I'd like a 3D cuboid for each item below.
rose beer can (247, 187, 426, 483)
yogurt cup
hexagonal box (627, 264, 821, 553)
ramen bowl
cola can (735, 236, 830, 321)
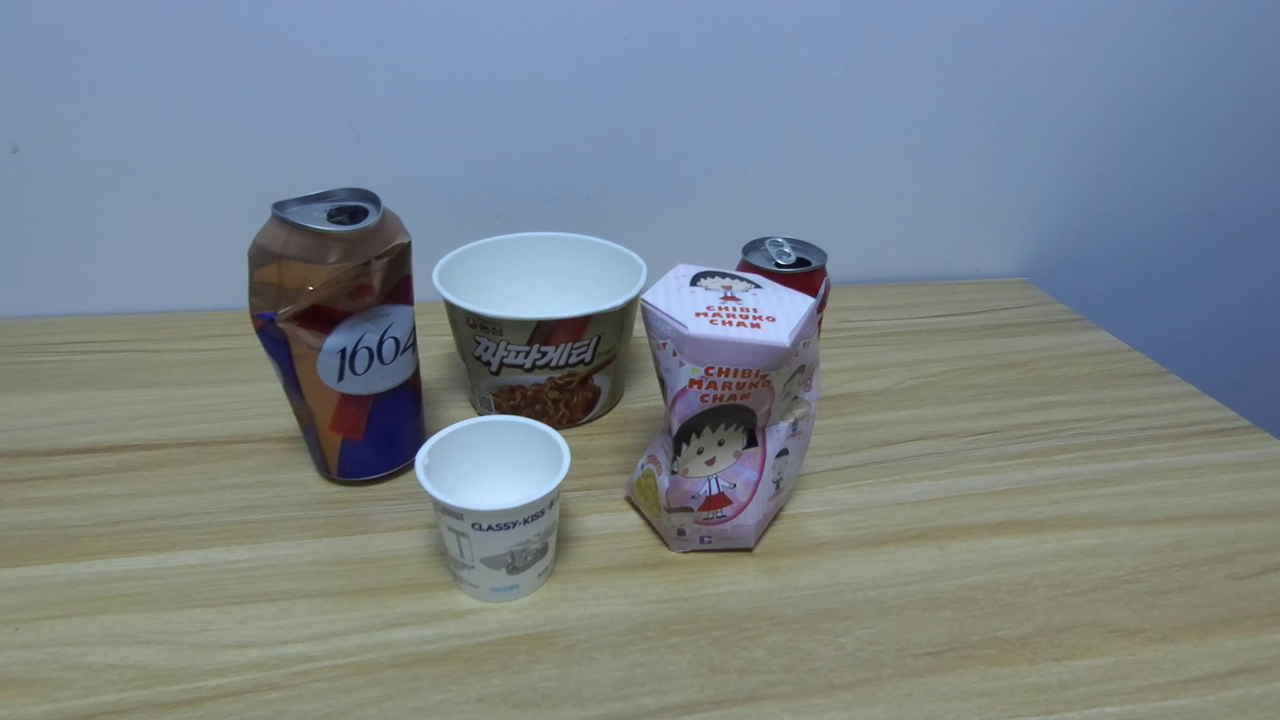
[{"bbox_3d":[-0.163,-0.010,0.398,0.068,0.162,0.073,2,32,-2],"label":"rose beer can"},{"bbox_3d":[-0.070,0.075,0.350,0.072,0.068,0.072,2,31,-1],"label":"yogurt cup"},{"bbox_3d":[0.037,0.028,0.375,0.089,0.135,0.093,-19,36,-32],"label":"hexagonal box"},{"bbox_3d":[-0.066,-0.016,0.494,0.140,0.095,0.140,3,25,-1],"label":"ramen bowl"},{"bbox_3d":[0.090,-0.023,0.483,0.066,0.117,0.066,11,32,12],"label":"cola can"}]
